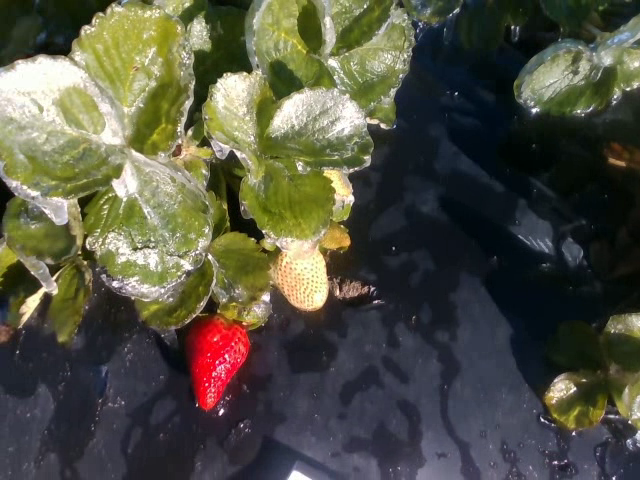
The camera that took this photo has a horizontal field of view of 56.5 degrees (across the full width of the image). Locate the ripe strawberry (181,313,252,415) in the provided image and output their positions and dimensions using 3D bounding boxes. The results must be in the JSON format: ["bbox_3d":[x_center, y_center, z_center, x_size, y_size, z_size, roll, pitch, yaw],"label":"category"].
[{"bbox_3d":[-0.063,0.073,0.327,0.041,0.052,0.040,11,-9,5],"label":"ripe strawberry"}]
